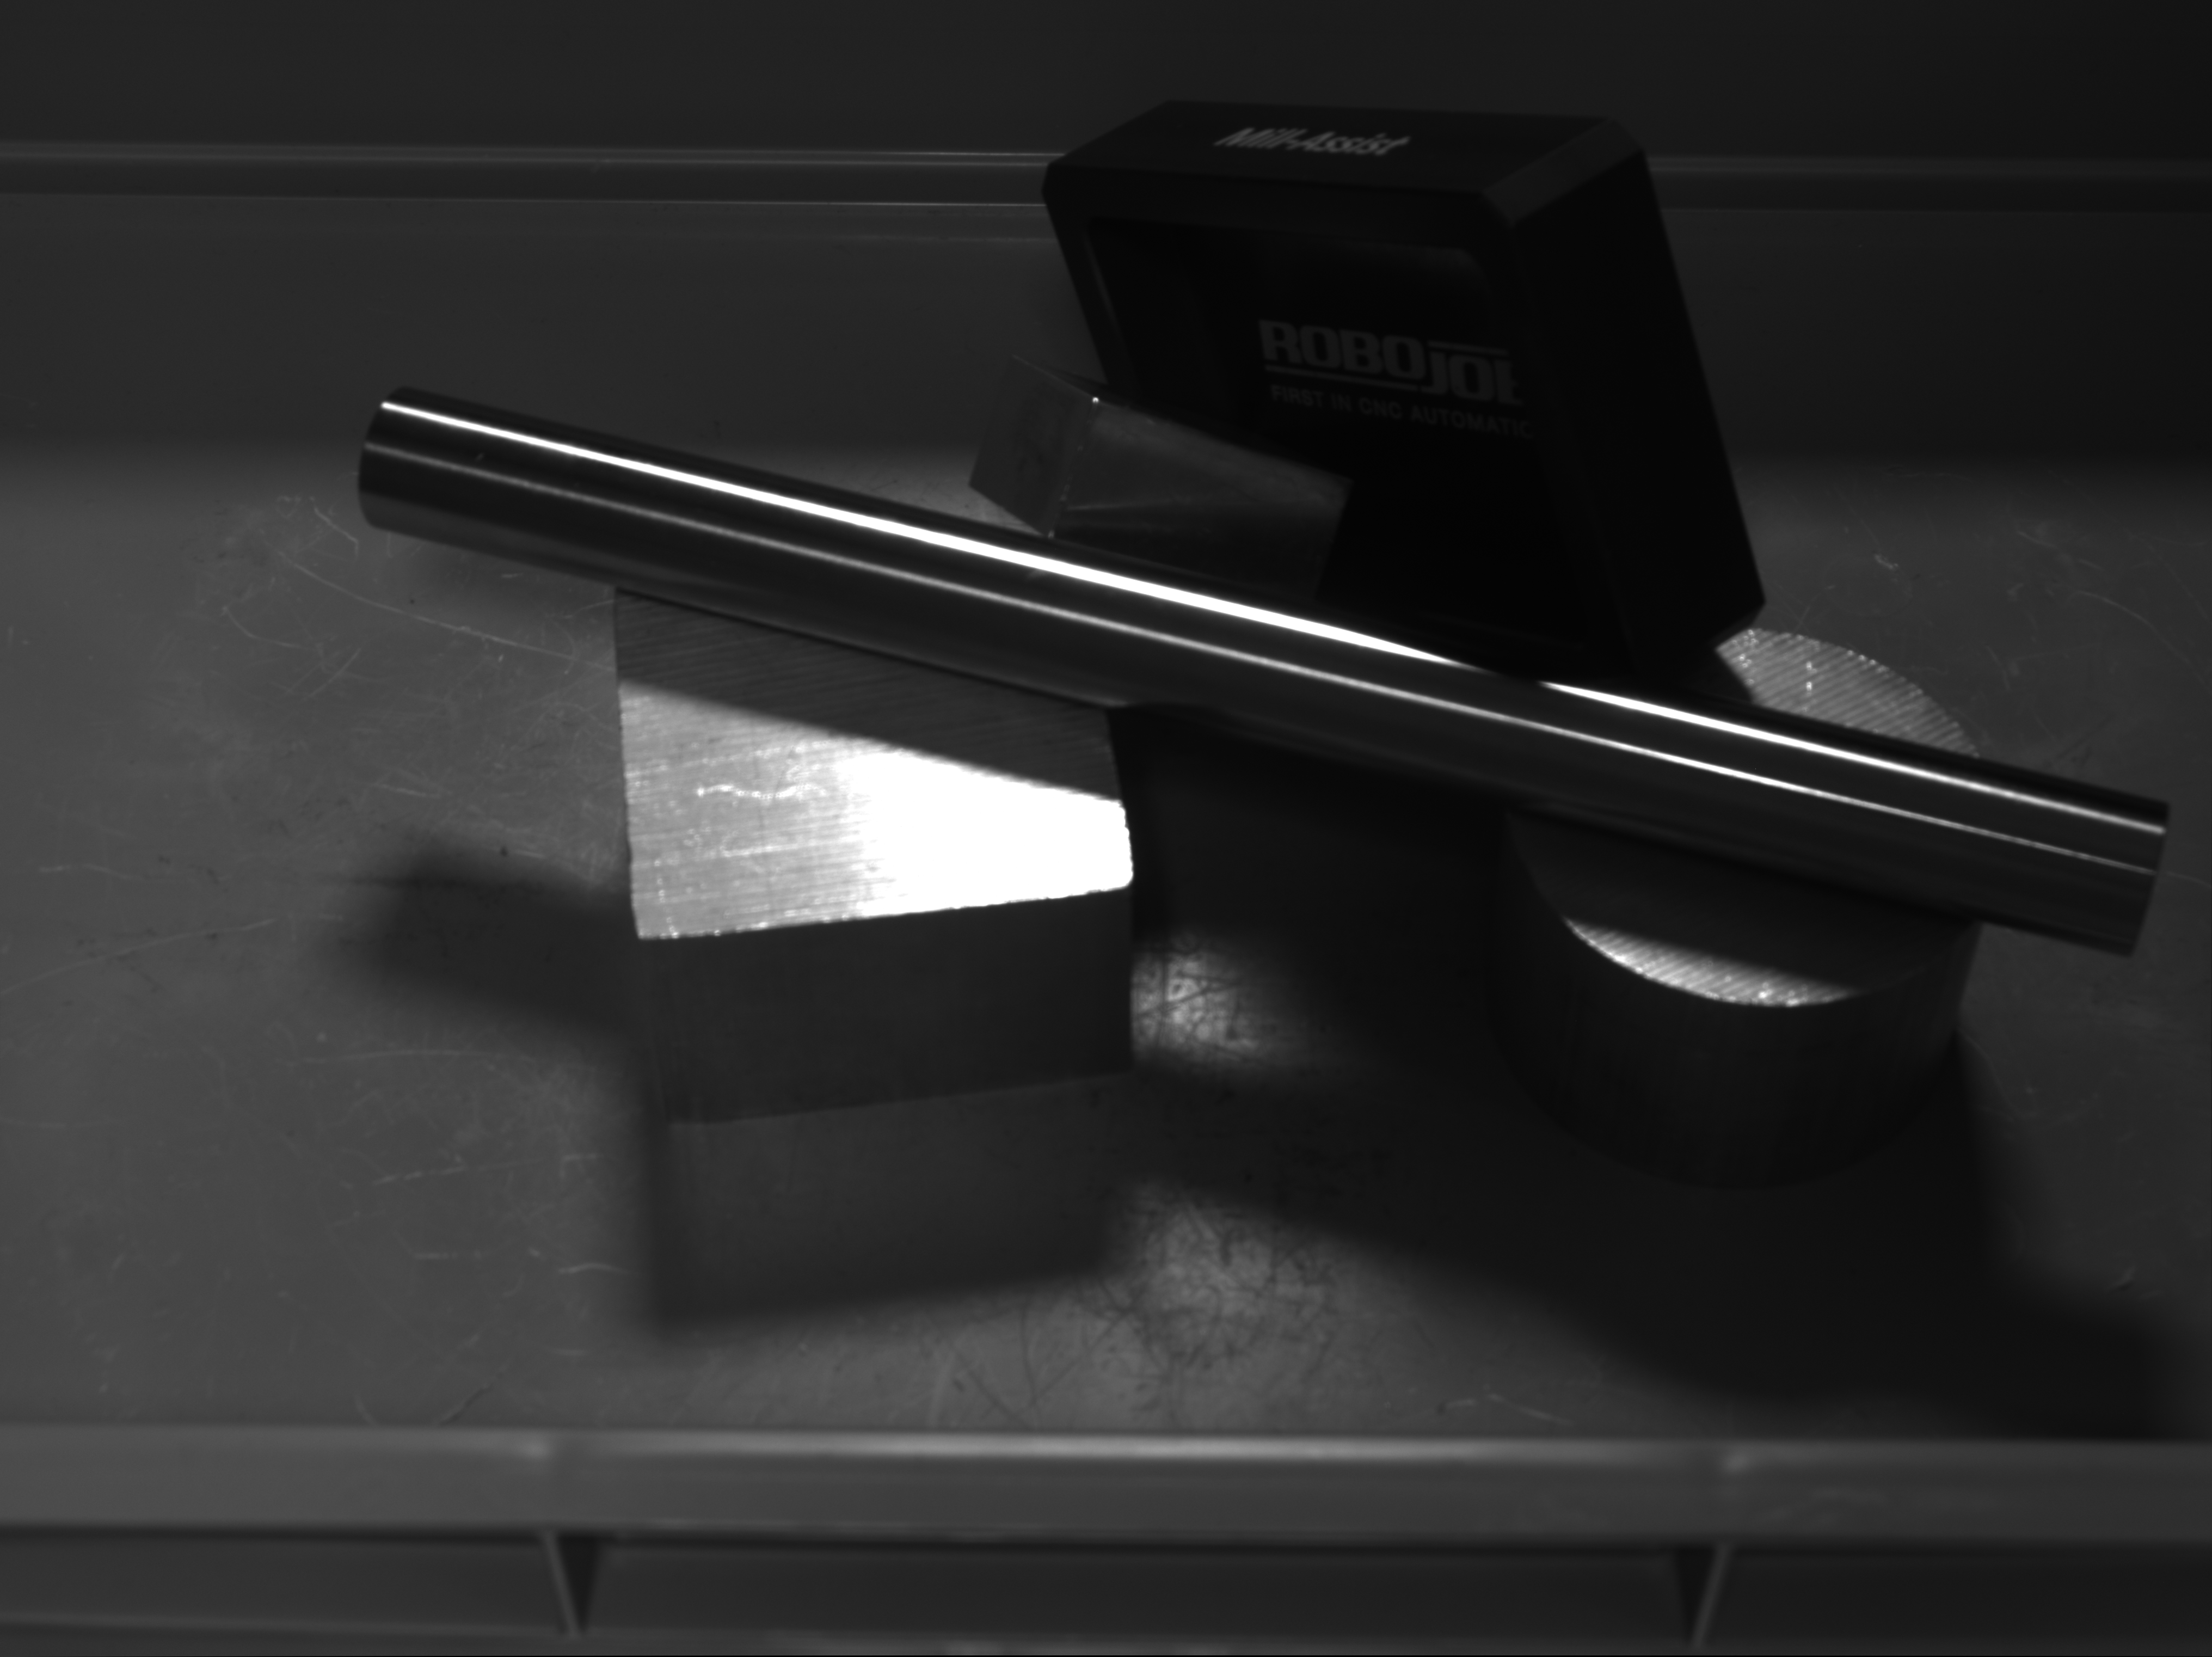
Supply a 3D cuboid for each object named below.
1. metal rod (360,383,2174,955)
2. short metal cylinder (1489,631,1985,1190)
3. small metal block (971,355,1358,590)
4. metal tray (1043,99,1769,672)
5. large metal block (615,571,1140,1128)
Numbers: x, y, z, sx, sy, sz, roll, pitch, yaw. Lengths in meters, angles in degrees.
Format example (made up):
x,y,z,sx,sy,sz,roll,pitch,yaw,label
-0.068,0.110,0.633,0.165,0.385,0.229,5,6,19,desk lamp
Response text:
x,y,z,sx,sy,sz,roll,pitch,yaw,label
0.020,-0.028,0.598,0.300,0.025,0.025,14,51,12,metal rod
0.106,0.013,0.613,0.080,0.050,0.080,0,50,0,short metal cylinder
0.010,-0.061,0.648,0.050,0.025,0.050,15,10,-22,small metal block
0.049,-0.077,0.631,0.030,0.090,0.130,-33,27,-25,metal tray
-0.039,0.000,0.625,0.080,0.050,0.080,-6,50,-5,large metal block
